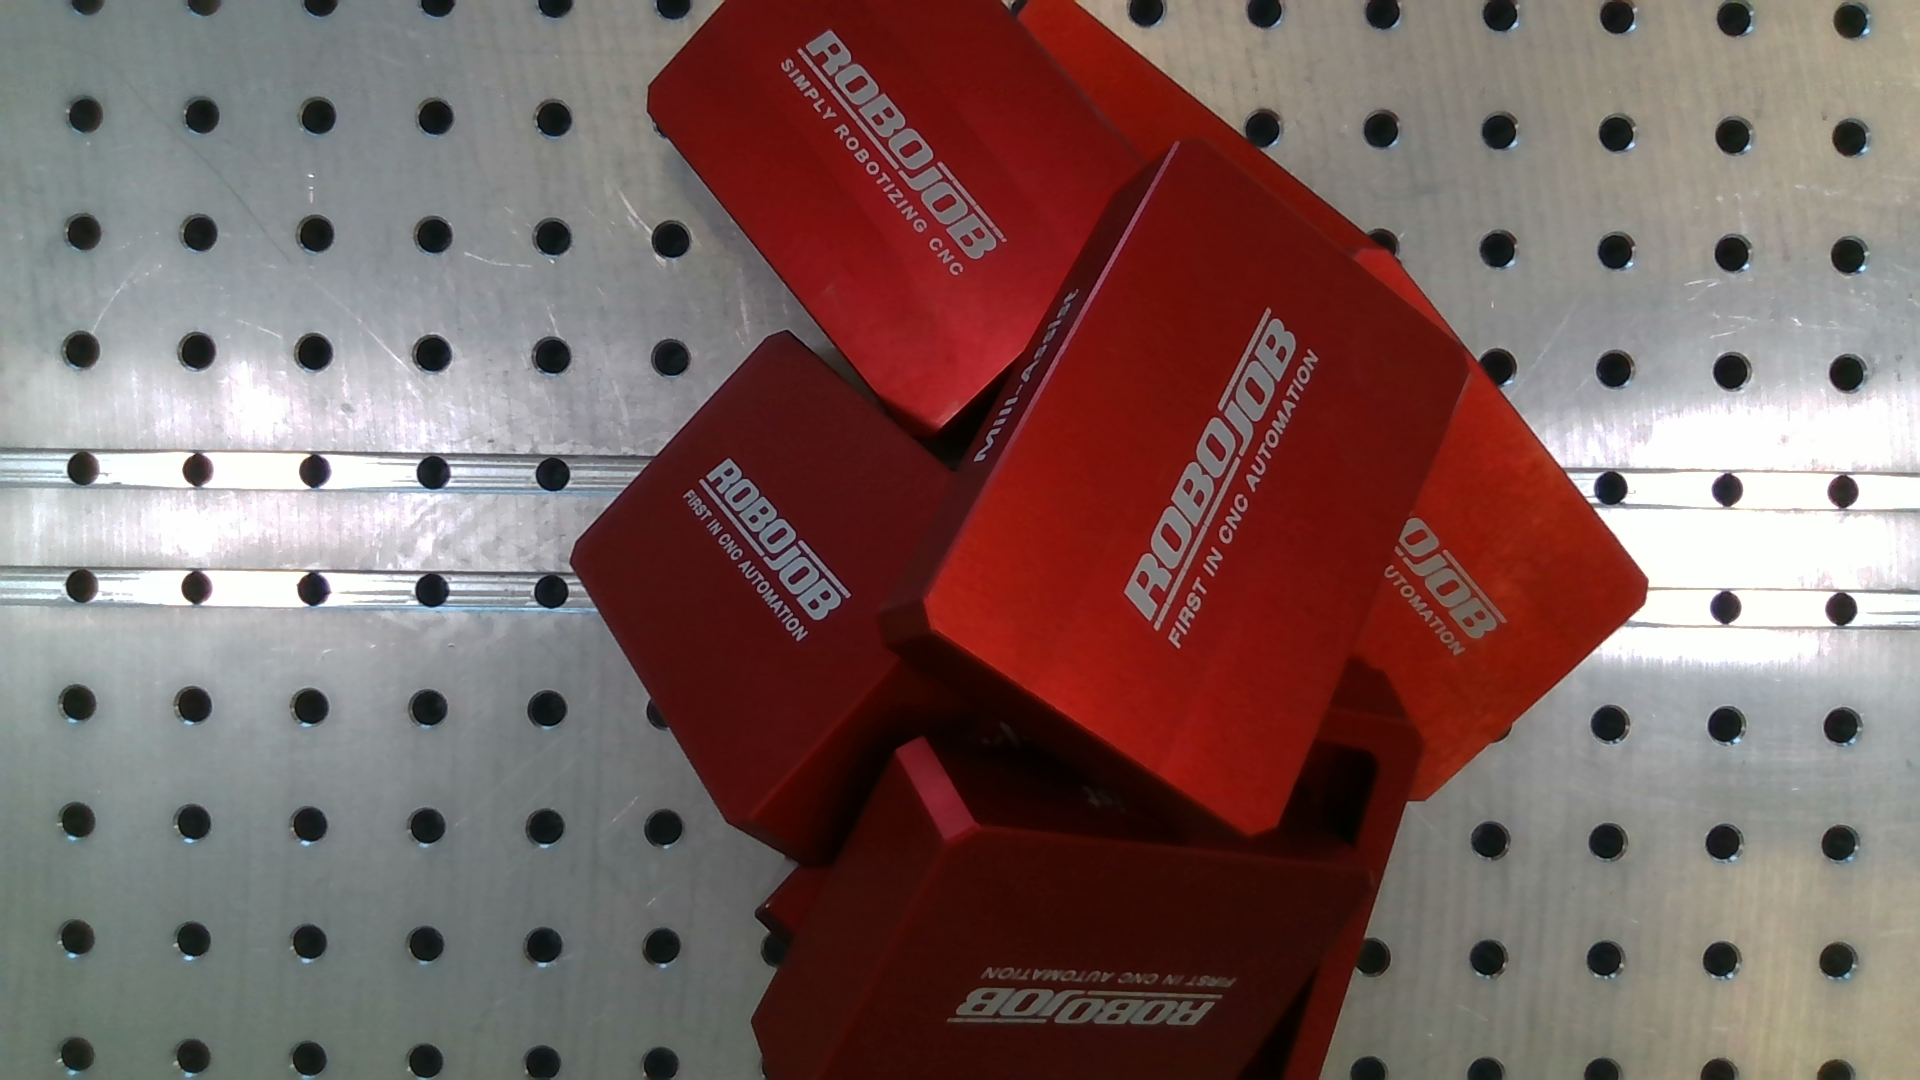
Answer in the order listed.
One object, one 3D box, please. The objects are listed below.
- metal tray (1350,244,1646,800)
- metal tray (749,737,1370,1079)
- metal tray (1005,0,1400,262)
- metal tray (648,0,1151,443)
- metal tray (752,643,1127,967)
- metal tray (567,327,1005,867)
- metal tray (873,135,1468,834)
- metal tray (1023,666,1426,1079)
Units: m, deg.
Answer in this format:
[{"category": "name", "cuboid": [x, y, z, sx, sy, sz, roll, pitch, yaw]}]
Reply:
[{"category": "metal tray", "cuboid": [0.113, -0.004, 0.376, 0.090, 0.030, 0.130, -43, 104, 2]}, {"category": "metal tray", "cuboid": [0.027, 0.099, 0.332, 0.130, 0.030, 0.090, 14, 115, -33]}, {"category": "metal tray", "cuboid": [0.047, -0.079, 0.394, 0.130, 0.030, 0.090, 39, 90, 0]}, {"category": "metal tray", "cuboid": [-0.013, -0.102, 0.372, 0.090, 0.030, 0.130, -42, 78, 16]}, {"category": "metal tray", "cuboid": [0.006, 0.053, 0.366, 0.030, 0.090, 0.130, 44, 89, 1]}, {"category": "metal tray", "cuboid": [-0.043, 0.008, 0.351, 0.090, 0.130, 0.030, -47, 132, 1]}, {"category": "metal tray", "cuboid": [0.051, -0.013, 0.307, 0.090, 0.030, 0.130, 34, 70, -14]}, {"category": "metal tray", "cuboid": [0.062, 0.092, 0.373, 0.090, 0.030, 0.130, 10, 110, 0]}]
